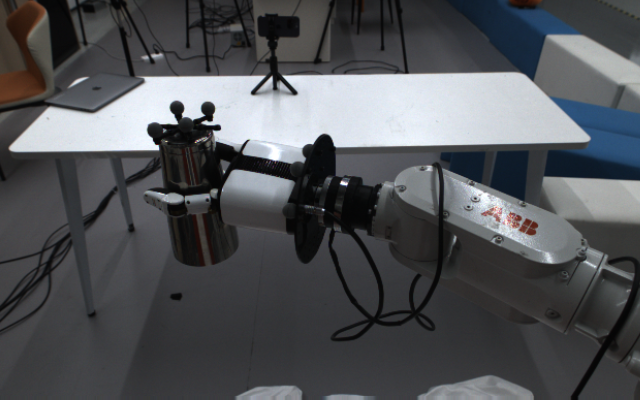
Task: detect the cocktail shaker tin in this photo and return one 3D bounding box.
[{"bbox_3d":[-0.159,-0.009,0.630,0.093,0.170,0.093,-1,33,1],"label":"cocktail shaker tin"}]
